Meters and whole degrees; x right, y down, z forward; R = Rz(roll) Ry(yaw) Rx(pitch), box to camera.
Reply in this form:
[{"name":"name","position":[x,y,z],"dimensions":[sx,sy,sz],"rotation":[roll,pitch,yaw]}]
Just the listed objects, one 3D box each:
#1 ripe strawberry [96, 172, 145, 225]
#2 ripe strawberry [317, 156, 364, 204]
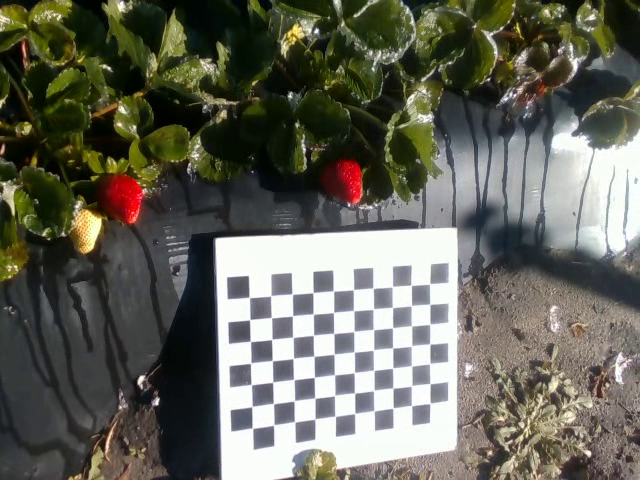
[{"name":"ripe strawberry","position":[-0.187,-0.033,0.590],"dimensions":[0.043,0.061,0.046],"rotation":[-19,-31,-16]},{"name":"ripe strawberry","position":[0.030,-0.061,0.656],"dimensions":[0.048,0.061,0.044],"rotation":[-11,-24,-18]}]
